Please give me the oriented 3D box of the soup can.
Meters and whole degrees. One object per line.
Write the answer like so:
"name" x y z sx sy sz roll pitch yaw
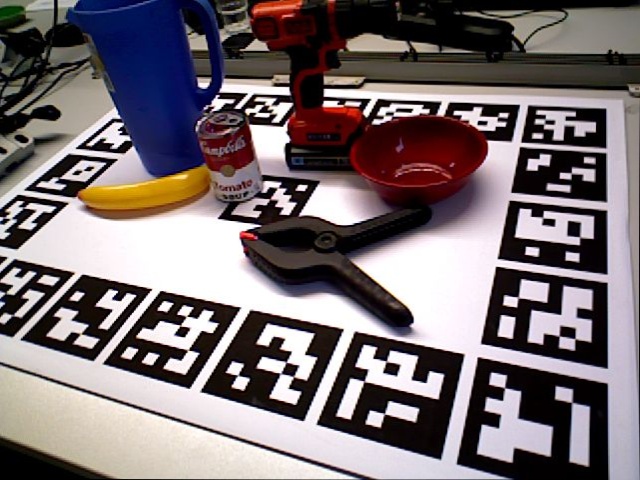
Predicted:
"soup can" -0.111 -0.113 0.680 0.068 0.104 0.067 -6 34 3

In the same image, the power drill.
"power drill" 0.022 -0.210 0.659 0.185 0.190 0.056 4 43 17

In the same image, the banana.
"banana" -0.238 -0.069 0.715 0.197 0.039 0.073 -9 33 1

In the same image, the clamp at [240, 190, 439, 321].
"clamp" 0.010 0.003 0.559 0.204 0.037 0.162 5 48 19

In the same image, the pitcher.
"pitcher" -0.213 -0.221 0.717 0.188 0.247 0.131 -9 38 3

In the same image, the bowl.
"bowl" 0.117 -0.096 0.638 0.161 0.056 0.159 -8 43 7
